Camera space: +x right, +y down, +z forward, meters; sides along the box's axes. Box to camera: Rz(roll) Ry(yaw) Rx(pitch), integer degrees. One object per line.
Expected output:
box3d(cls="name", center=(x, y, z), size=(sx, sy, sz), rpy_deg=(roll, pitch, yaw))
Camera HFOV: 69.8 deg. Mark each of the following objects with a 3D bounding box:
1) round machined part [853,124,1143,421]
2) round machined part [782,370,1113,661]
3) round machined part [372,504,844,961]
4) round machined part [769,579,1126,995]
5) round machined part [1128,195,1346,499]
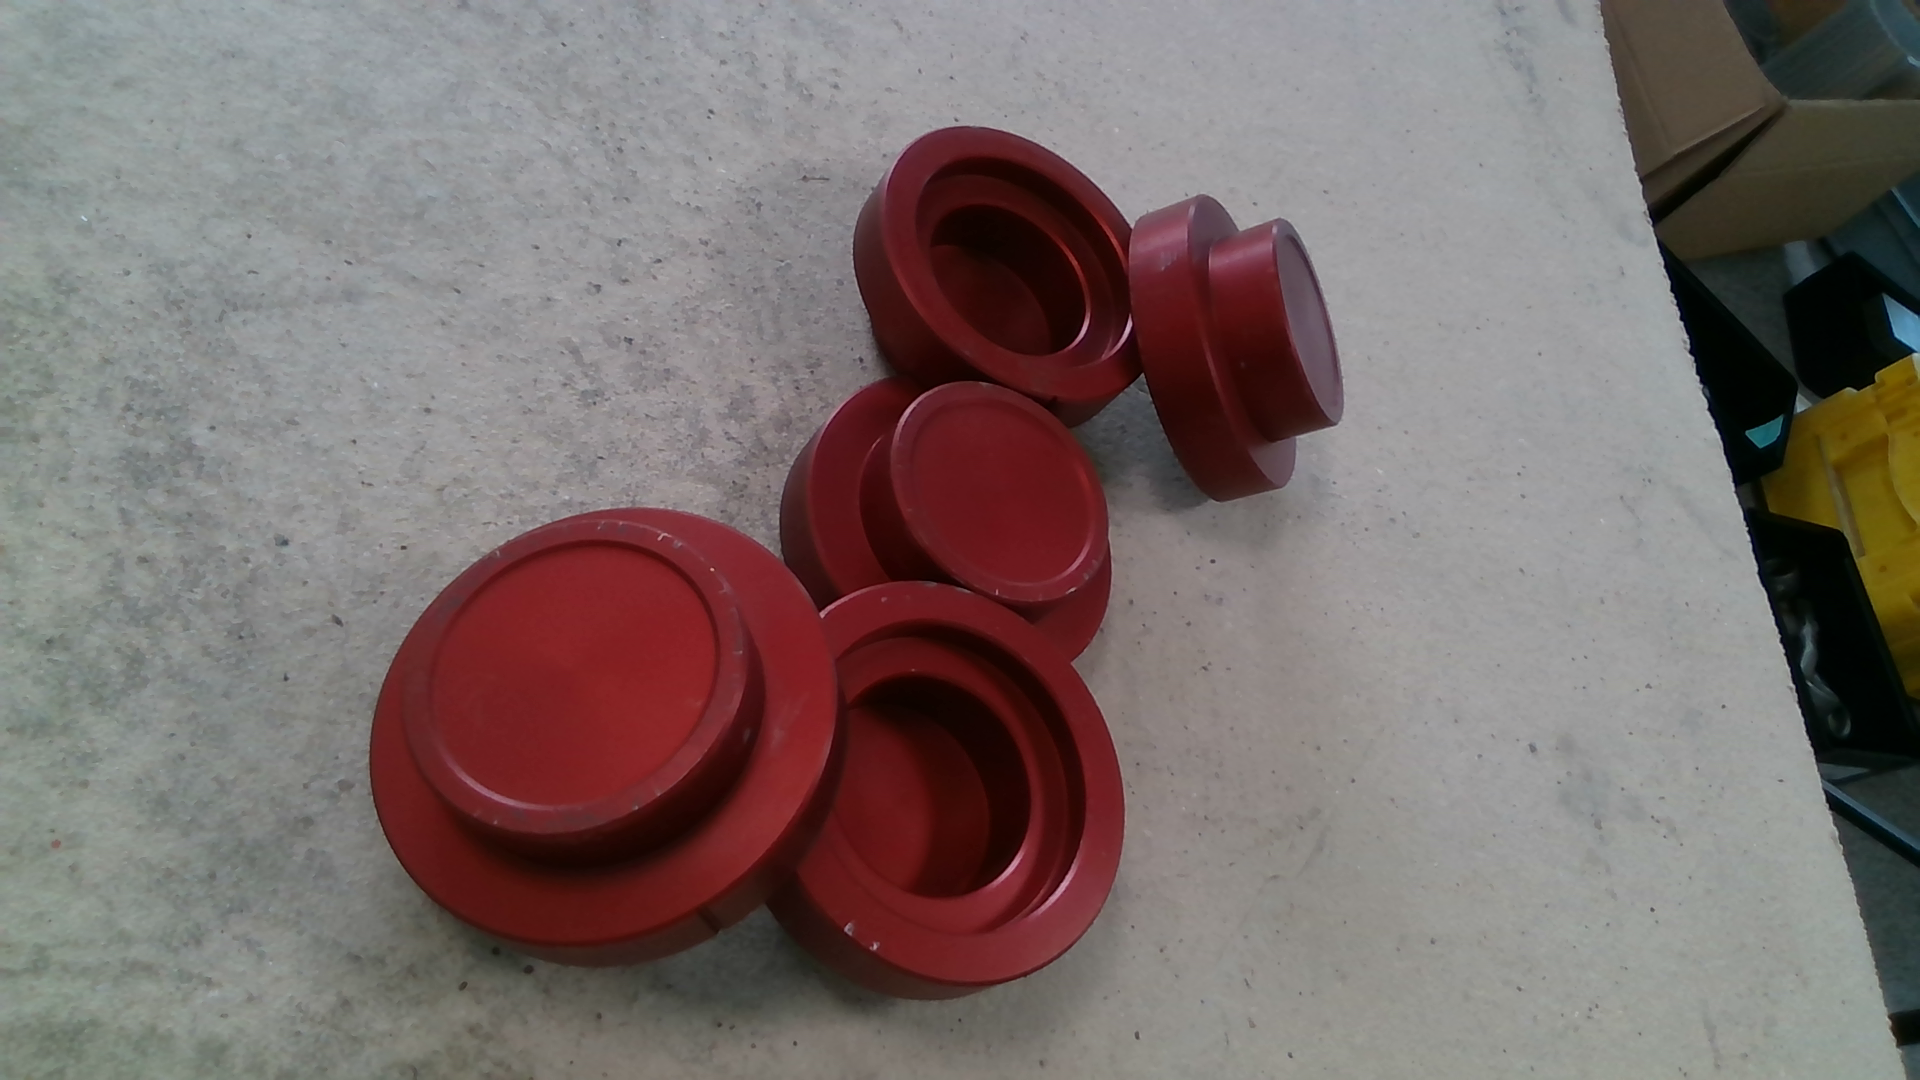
box3d(cls="round machined part", center=(0.011, -0.077, 0.430), size=(0.098, 0.042, 0.098), rpy_deg=(15, 58, -24))
box3d(cls="round machined part", center=(0.003, -0.006, 0.386), size=(0.098, 0.042, 0.098), rpy_deg=(17, 56, -26))
box3d(cls="round machined part", center=(-0.074, 0.034, 0.289), size=(0.098, 0.042, 0.098), rpy_deg=(0, 62, 1))
box3d(cls="round machined part", center=(-0.011, 0.063, 0.341), size=(0.098, 0.042, 0.098), rpy_deg=(15, 58, -24))
box3d(cls="round machined part", center=(0.094, -0.065, 0.446), size=(0.098, 0.042, 0.098), rpy_deg=(37, 46, -50))
